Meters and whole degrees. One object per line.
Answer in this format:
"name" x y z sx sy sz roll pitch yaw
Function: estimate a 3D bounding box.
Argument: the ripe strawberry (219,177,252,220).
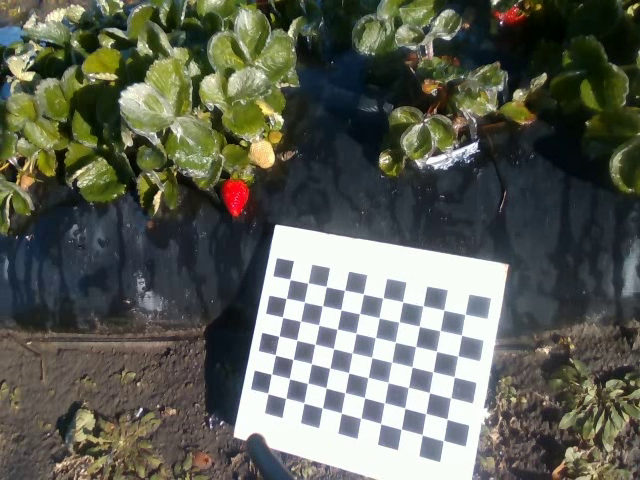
"ripe strawberry" -0.114 -0.055 0.748 0.041 0.052 0.040 -8 -16 13
